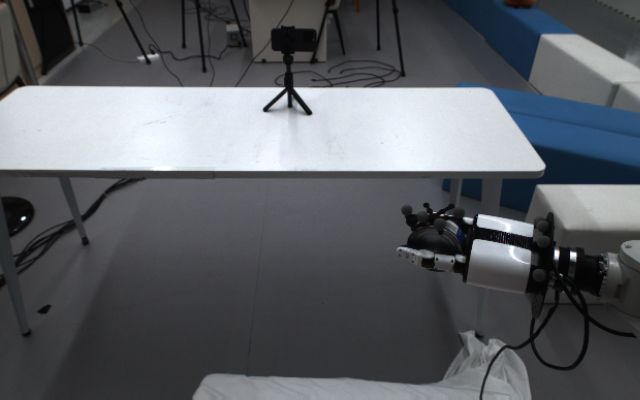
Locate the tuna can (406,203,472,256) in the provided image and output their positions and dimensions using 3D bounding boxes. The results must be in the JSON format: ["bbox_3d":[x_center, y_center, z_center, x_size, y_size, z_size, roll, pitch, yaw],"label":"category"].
[{"bbox_3d":[0.184,0.066,0.756,0.085,0.085,0.034,17,37,20],"label":"tuna can"}]
